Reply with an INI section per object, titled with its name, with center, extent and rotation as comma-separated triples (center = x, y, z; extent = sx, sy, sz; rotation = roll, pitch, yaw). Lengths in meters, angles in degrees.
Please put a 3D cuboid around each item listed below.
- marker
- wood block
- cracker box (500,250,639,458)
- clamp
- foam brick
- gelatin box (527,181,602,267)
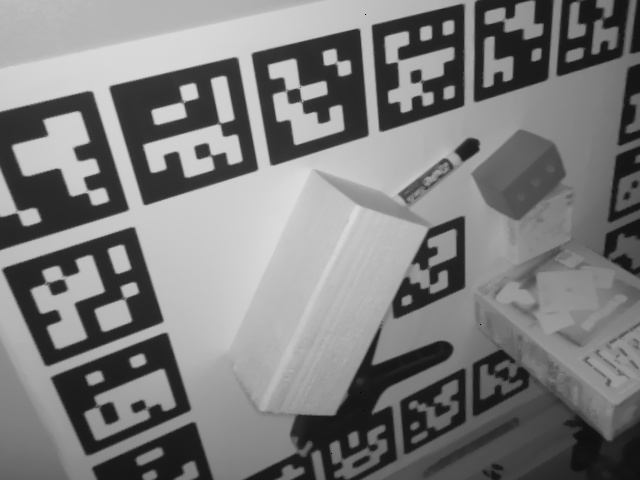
[marker]
center = 0.147, -0.075, 0.697
extent = 0.122, 0.019, 0.019
rotation = -38, 122, -9
[wood block]
center = 0.025, 0.047, 0.648
extent = 0.091, 0.090, 0.205
rotation = 16, 106, -35
[cracker box]
center = 0.326, 0.109, 0.754
extent = 0.166, 0.212, 0.071
rotation = -22, 122, -16
[clamp]
center = 0.072, 0.155, 0.749
extent = 0.203, 0.036, 0.166
rotation = -47, 124, -3
[foam brick]
center = 0.238, -0.072, 0.730
extent = 0.078, 0.051, 0.053
rotation = -42, 123, -6
[gelatin box]
center = 0.281, -0.020, 0.793
extent = 0.090, 0.030, 0.073
rotation = -21, 118, -19
